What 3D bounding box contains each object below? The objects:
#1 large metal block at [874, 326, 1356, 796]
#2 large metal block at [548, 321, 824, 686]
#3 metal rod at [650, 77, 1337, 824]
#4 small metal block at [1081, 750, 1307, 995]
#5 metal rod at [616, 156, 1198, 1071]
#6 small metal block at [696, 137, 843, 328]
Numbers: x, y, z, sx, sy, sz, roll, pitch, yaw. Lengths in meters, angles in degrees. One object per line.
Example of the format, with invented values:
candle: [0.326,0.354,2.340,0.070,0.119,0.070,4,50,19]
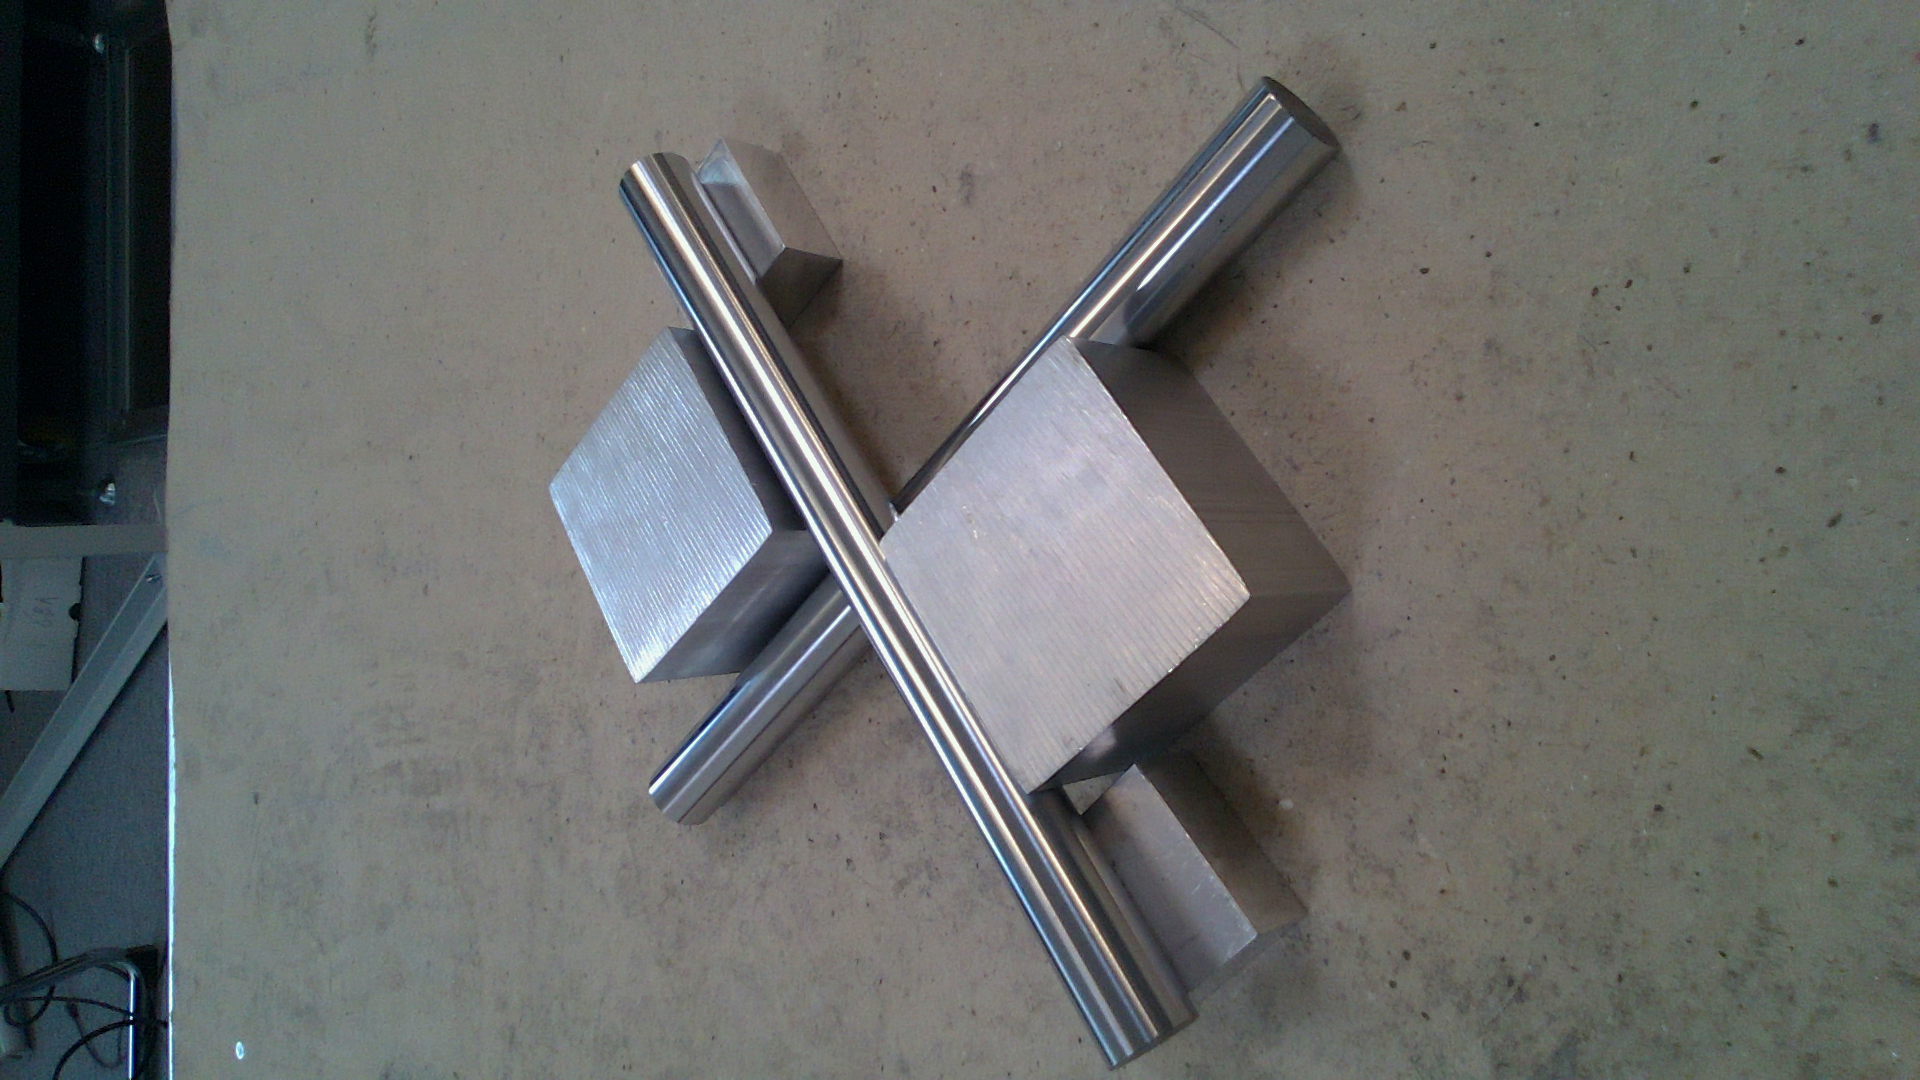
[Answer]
large metal block: [0.036,0.006,0.348,0.080,0.050,0.080,-47,62,30]
large metal block: [-0.079,-0.011,0.443,0.080,0.050,0.080,-45,63,31]
metal rod: [-0.008,-0.007,0.403,0.299,0.025,0.025,-47,62,30]
small metal block: [0.051,0.091,0.353,0.050,0.025,0.050,-51,60,28]
metal rod: [-0.027,0.002,0.384,0.025,0.025,0.300,-47,62,30]
small metal block: [-0.073,-0.095,0.457,0.050,0.025,0.050,-45,63,31]
